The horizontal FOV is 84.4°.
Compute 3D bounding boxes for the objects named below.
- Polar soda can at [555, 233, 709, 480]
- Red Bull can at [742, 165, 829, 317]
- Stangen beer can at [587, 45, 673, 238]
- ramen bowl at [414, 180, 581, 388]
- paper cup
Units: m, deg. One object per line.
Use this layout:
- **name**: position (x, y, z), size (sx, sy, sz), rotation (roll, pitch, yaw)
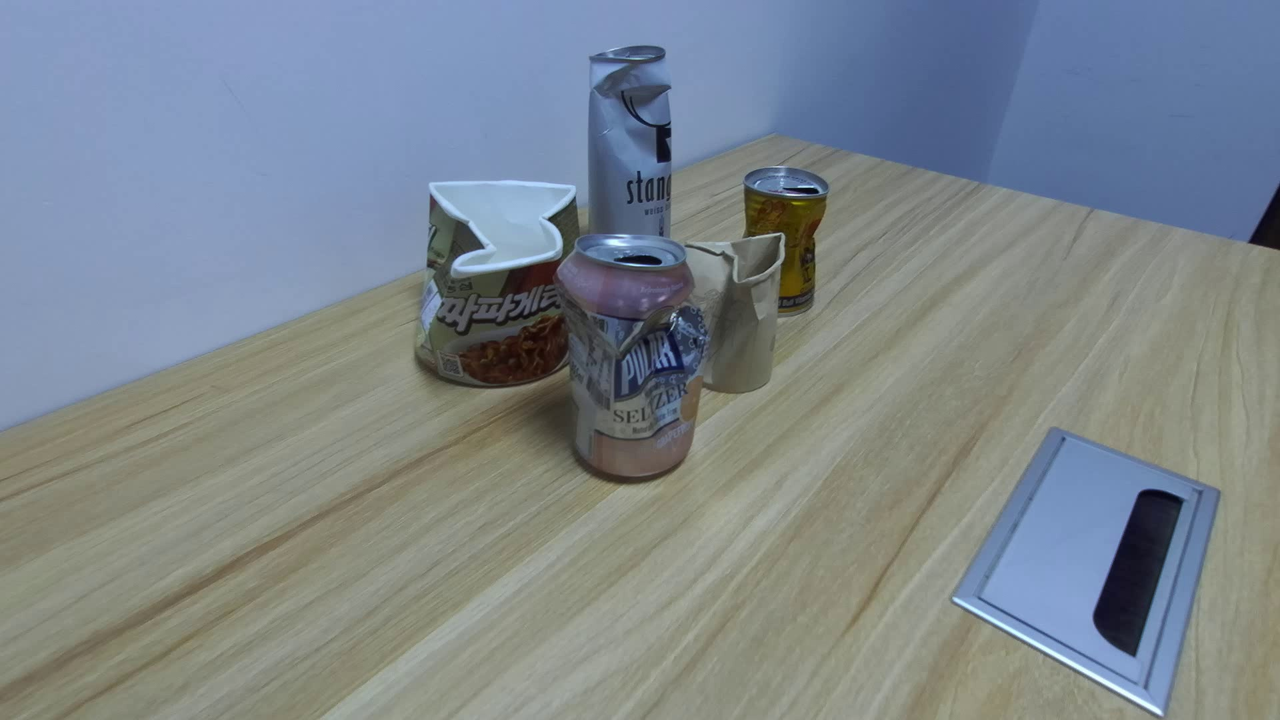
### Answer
- **Polar soda can**: position (-0.002, -0.004, 0.367), size (0.071, 0.122, 0.066), rotation (-19, 32, -30)
- **Red Bull can**: position (0.100, -0.086, 0.513), size (0.072, 0.092, 0.072), rotation (1, 34, 0)
- **Stangen beer can**: position (-0.008, -0.144, 0.530), size (0.066, 0.166, 0.066), rotation (-7, 35, -9)
- **ramen bowl**: position (-0.092, -0.047, 0.450), size (0.111, 0.093, 0.128), rotation (1, 35, -1)
- **paper cup**: position (0.055, -0.029, 0.434), size (0.058, 0.083, 0.066), rotation (6, 32, 11)
